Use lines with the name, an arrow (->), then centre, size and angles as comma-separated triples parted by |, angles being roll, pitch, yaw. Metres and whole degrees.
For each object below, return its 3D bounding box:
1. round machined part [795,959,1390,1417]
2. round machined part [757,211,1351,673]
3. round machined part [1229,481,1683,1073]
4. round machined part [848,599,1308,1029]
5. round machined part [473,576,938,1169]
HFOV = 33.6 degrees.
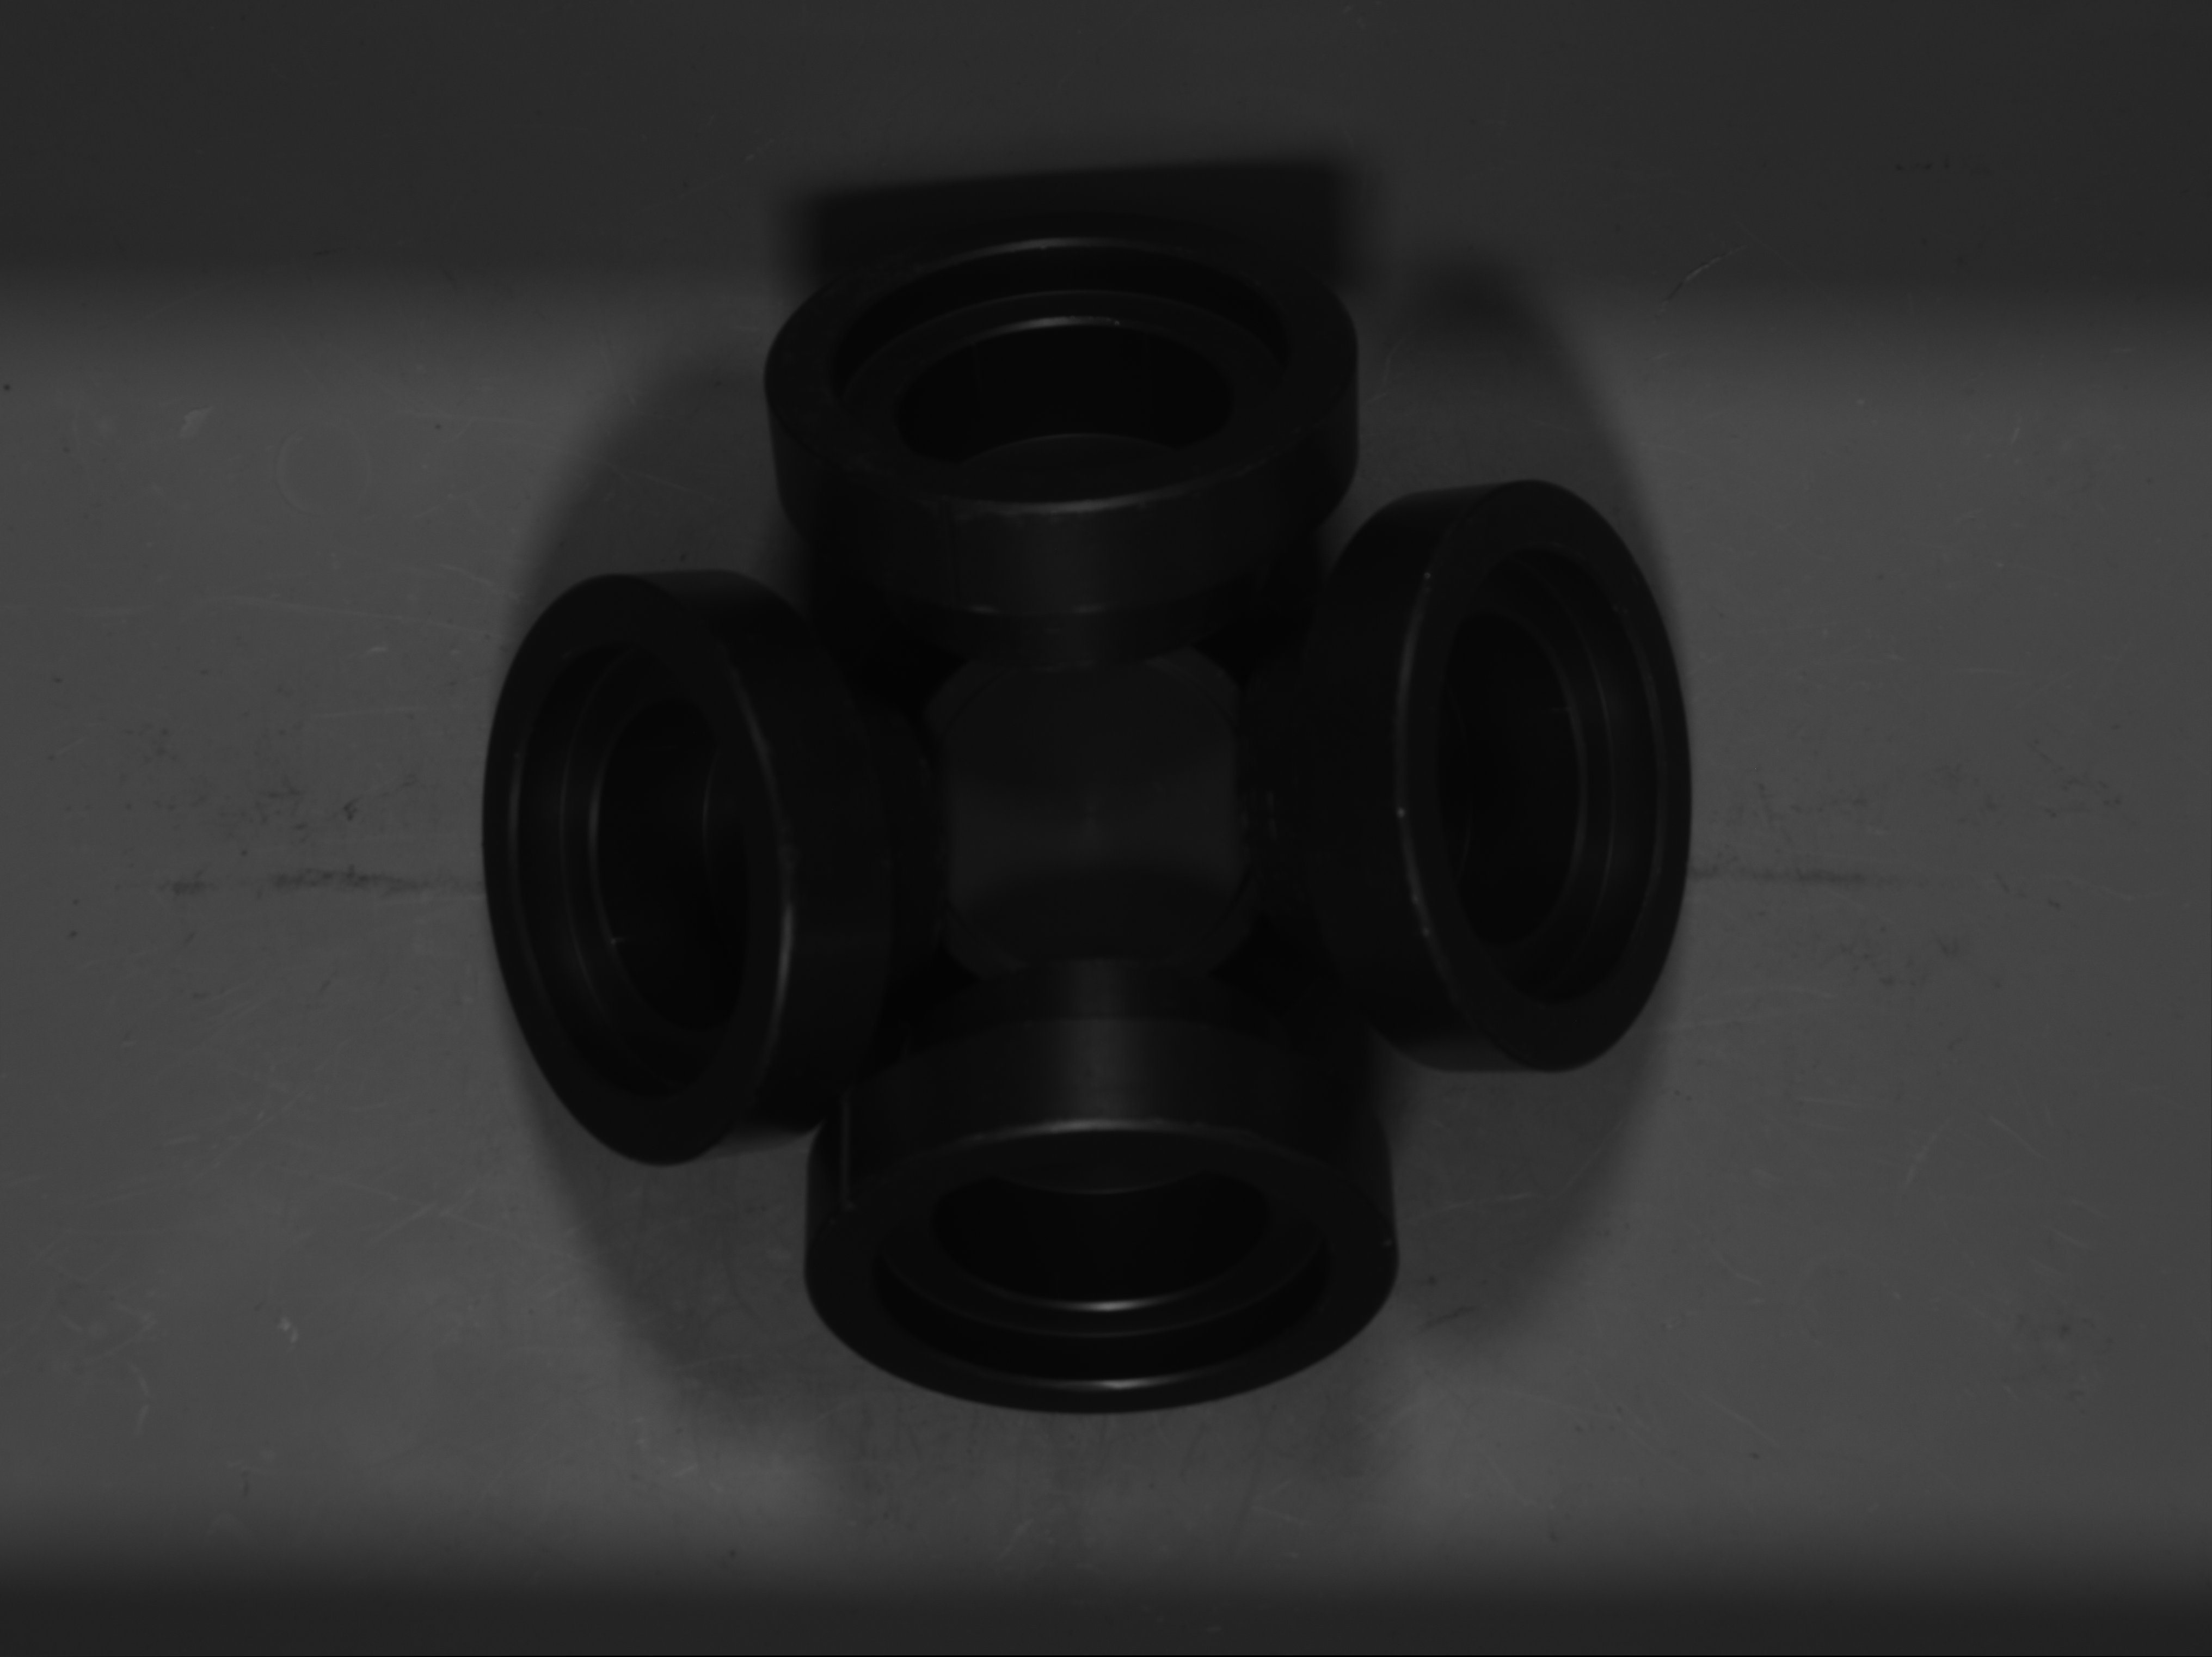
round machined part -> -0.003, 0.058, 0.616 | 0.098, 0.098, 0.042 | -1, 54, 0
round machined part -> -0.008, -0.062, 0.617 | 0.098, 0.098, 0.042 | -4, 128, 0
round machined part -> 0.057, -0.008, 0.618 | 0.042, 0.098, 0.098 | -3, 90, 36
round machined part -> -0.004, -0.002, 0.635 | 0.098, 0.042, 0.098 | 0, 90, 0
round machined part -> -0.065, 0.006, 0.616 | 0.042, 0.098, 0.098 | -6, 90, -38
